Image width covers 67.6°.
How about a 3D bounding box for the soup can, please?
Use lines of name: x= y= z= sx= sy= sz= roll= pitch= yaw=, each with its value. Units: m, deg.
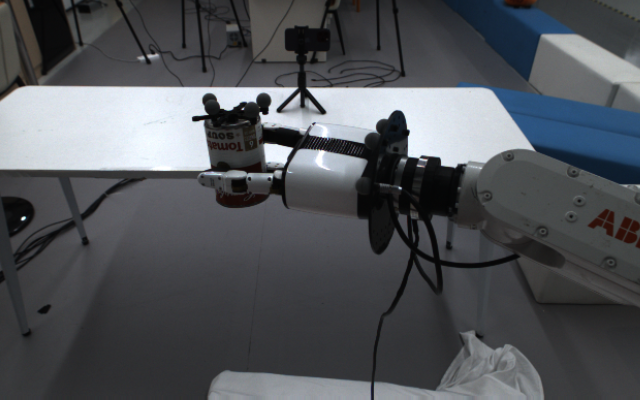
soup can: x=-0.098 y=-0.050 z=0.587 sx=0.067 sy=0.101 sz=0.067 roll=-3 pitch=27 yaw=2
